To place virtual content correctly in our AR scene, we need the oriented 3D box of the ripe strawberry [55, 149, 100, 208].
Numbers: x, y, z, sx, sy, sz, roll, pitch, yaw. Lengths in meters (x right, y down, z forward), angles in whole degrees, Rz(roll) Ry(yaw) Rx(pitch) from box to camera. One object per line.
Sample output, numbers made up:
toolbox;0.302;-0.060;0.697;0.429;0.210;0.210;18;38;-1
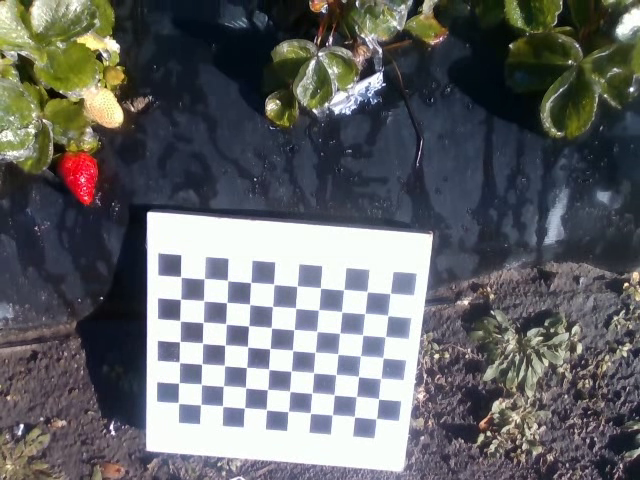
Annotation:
ripe strawberry;-0.237;-0.057;0.595;0.042;0.052;0.040;-13;6;3
